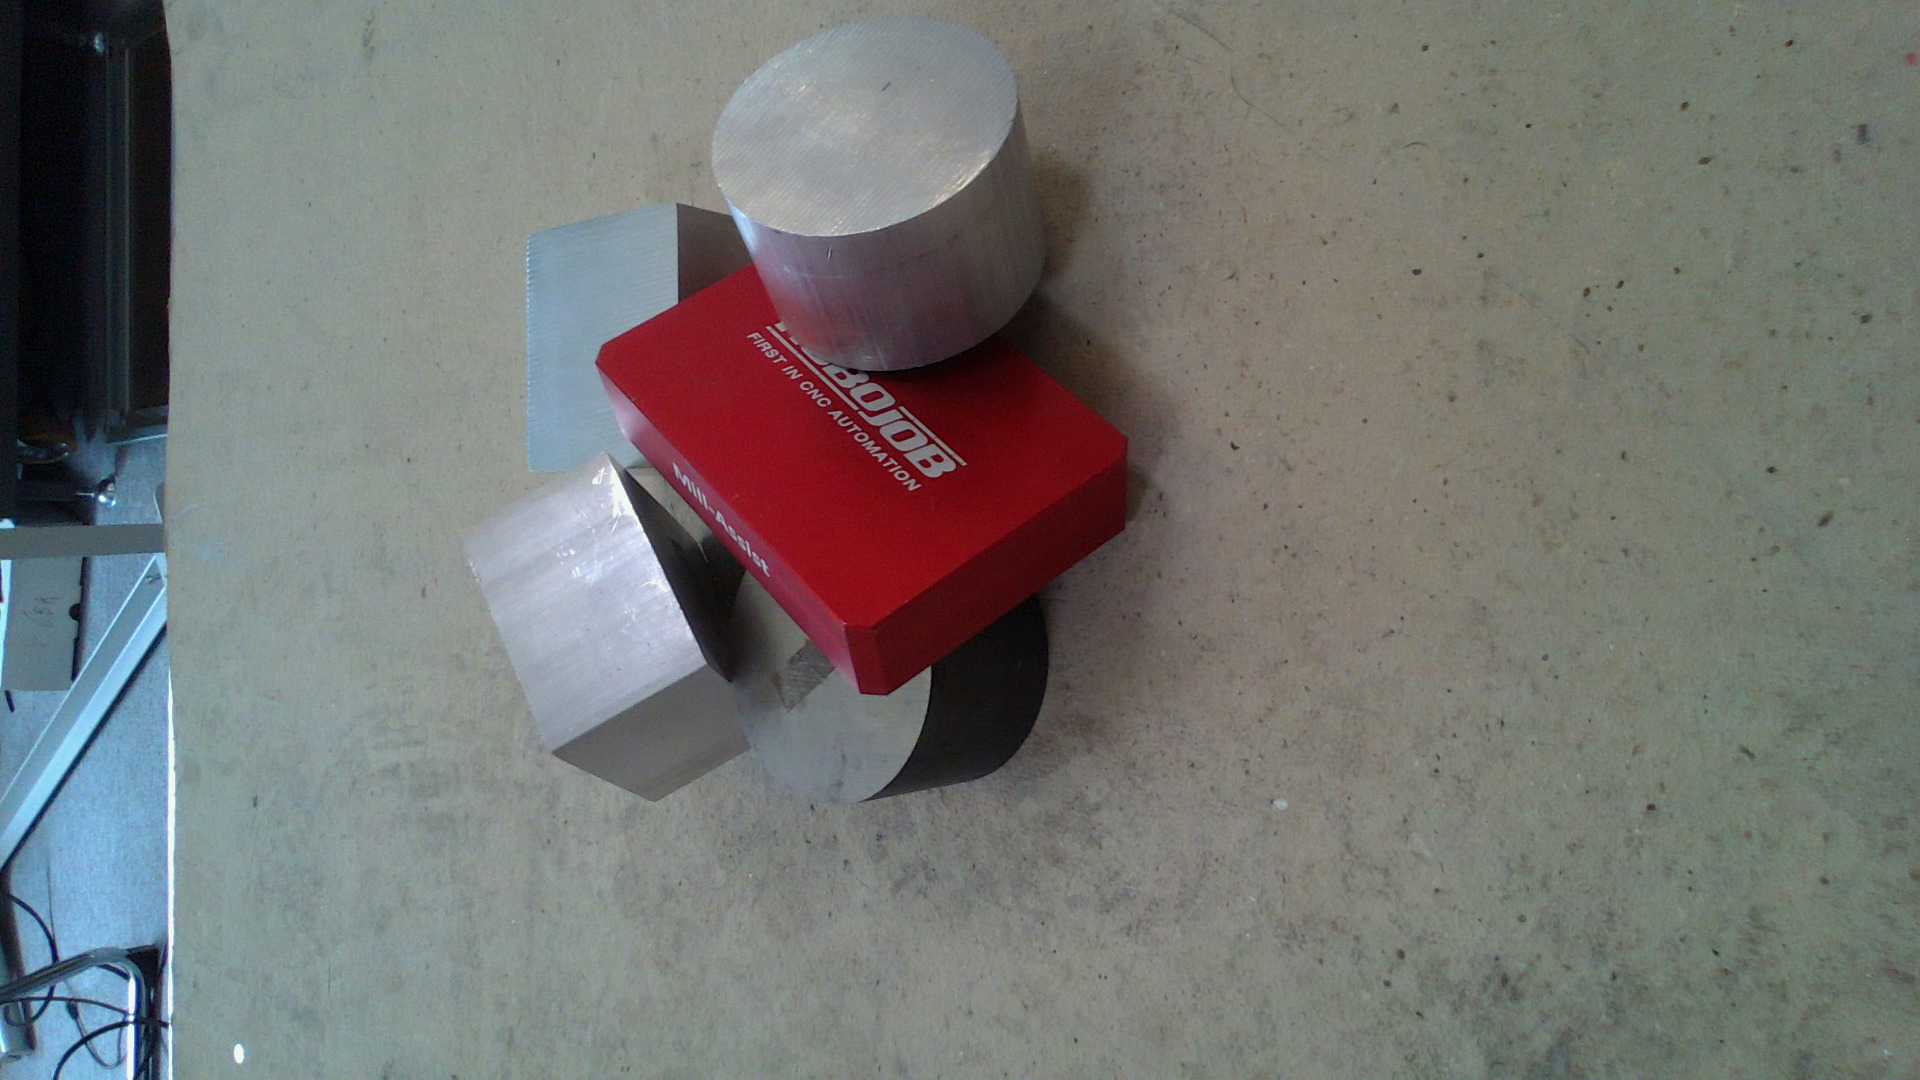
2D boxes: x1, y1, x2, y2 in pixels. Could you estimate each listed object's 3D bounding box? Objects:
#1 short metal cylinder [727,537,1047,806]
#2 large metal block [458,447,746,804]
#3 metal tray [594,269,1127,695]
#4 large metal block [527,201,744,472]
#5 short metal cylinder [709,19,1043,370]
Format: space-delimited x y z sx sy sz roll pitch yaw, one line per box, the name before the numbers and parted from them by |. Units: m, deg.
short metal cylinder | -0.022 0.033 0.398 0.080 0.050 0.080 0 90 40
large metal block | -0.105 0.030 0.438 0.050 0.080 0.080 -30 67 -2
metal tray | -0.029 -0.029 0.378 0.130 0.090 0.030 43 156 31
large metal block | -0.100 -0.063 0.460 0.080 0.050 0.080 1 91 40
short metal cylinder | -0.021 -0.093 0.370 0.080 0.050 0.080 -6 57 10
